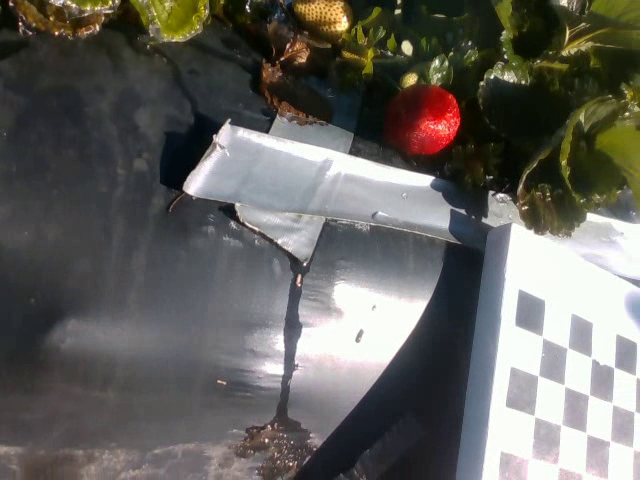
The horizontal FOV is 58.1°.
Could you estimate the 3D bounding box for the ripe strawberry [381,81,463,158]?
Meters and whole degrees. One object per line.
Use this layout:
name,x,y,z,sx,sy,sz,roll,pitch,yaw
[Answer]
ripe strawberry,0.070,-0.073,0.366,0.057,0.062,0.065,-33,12,15
